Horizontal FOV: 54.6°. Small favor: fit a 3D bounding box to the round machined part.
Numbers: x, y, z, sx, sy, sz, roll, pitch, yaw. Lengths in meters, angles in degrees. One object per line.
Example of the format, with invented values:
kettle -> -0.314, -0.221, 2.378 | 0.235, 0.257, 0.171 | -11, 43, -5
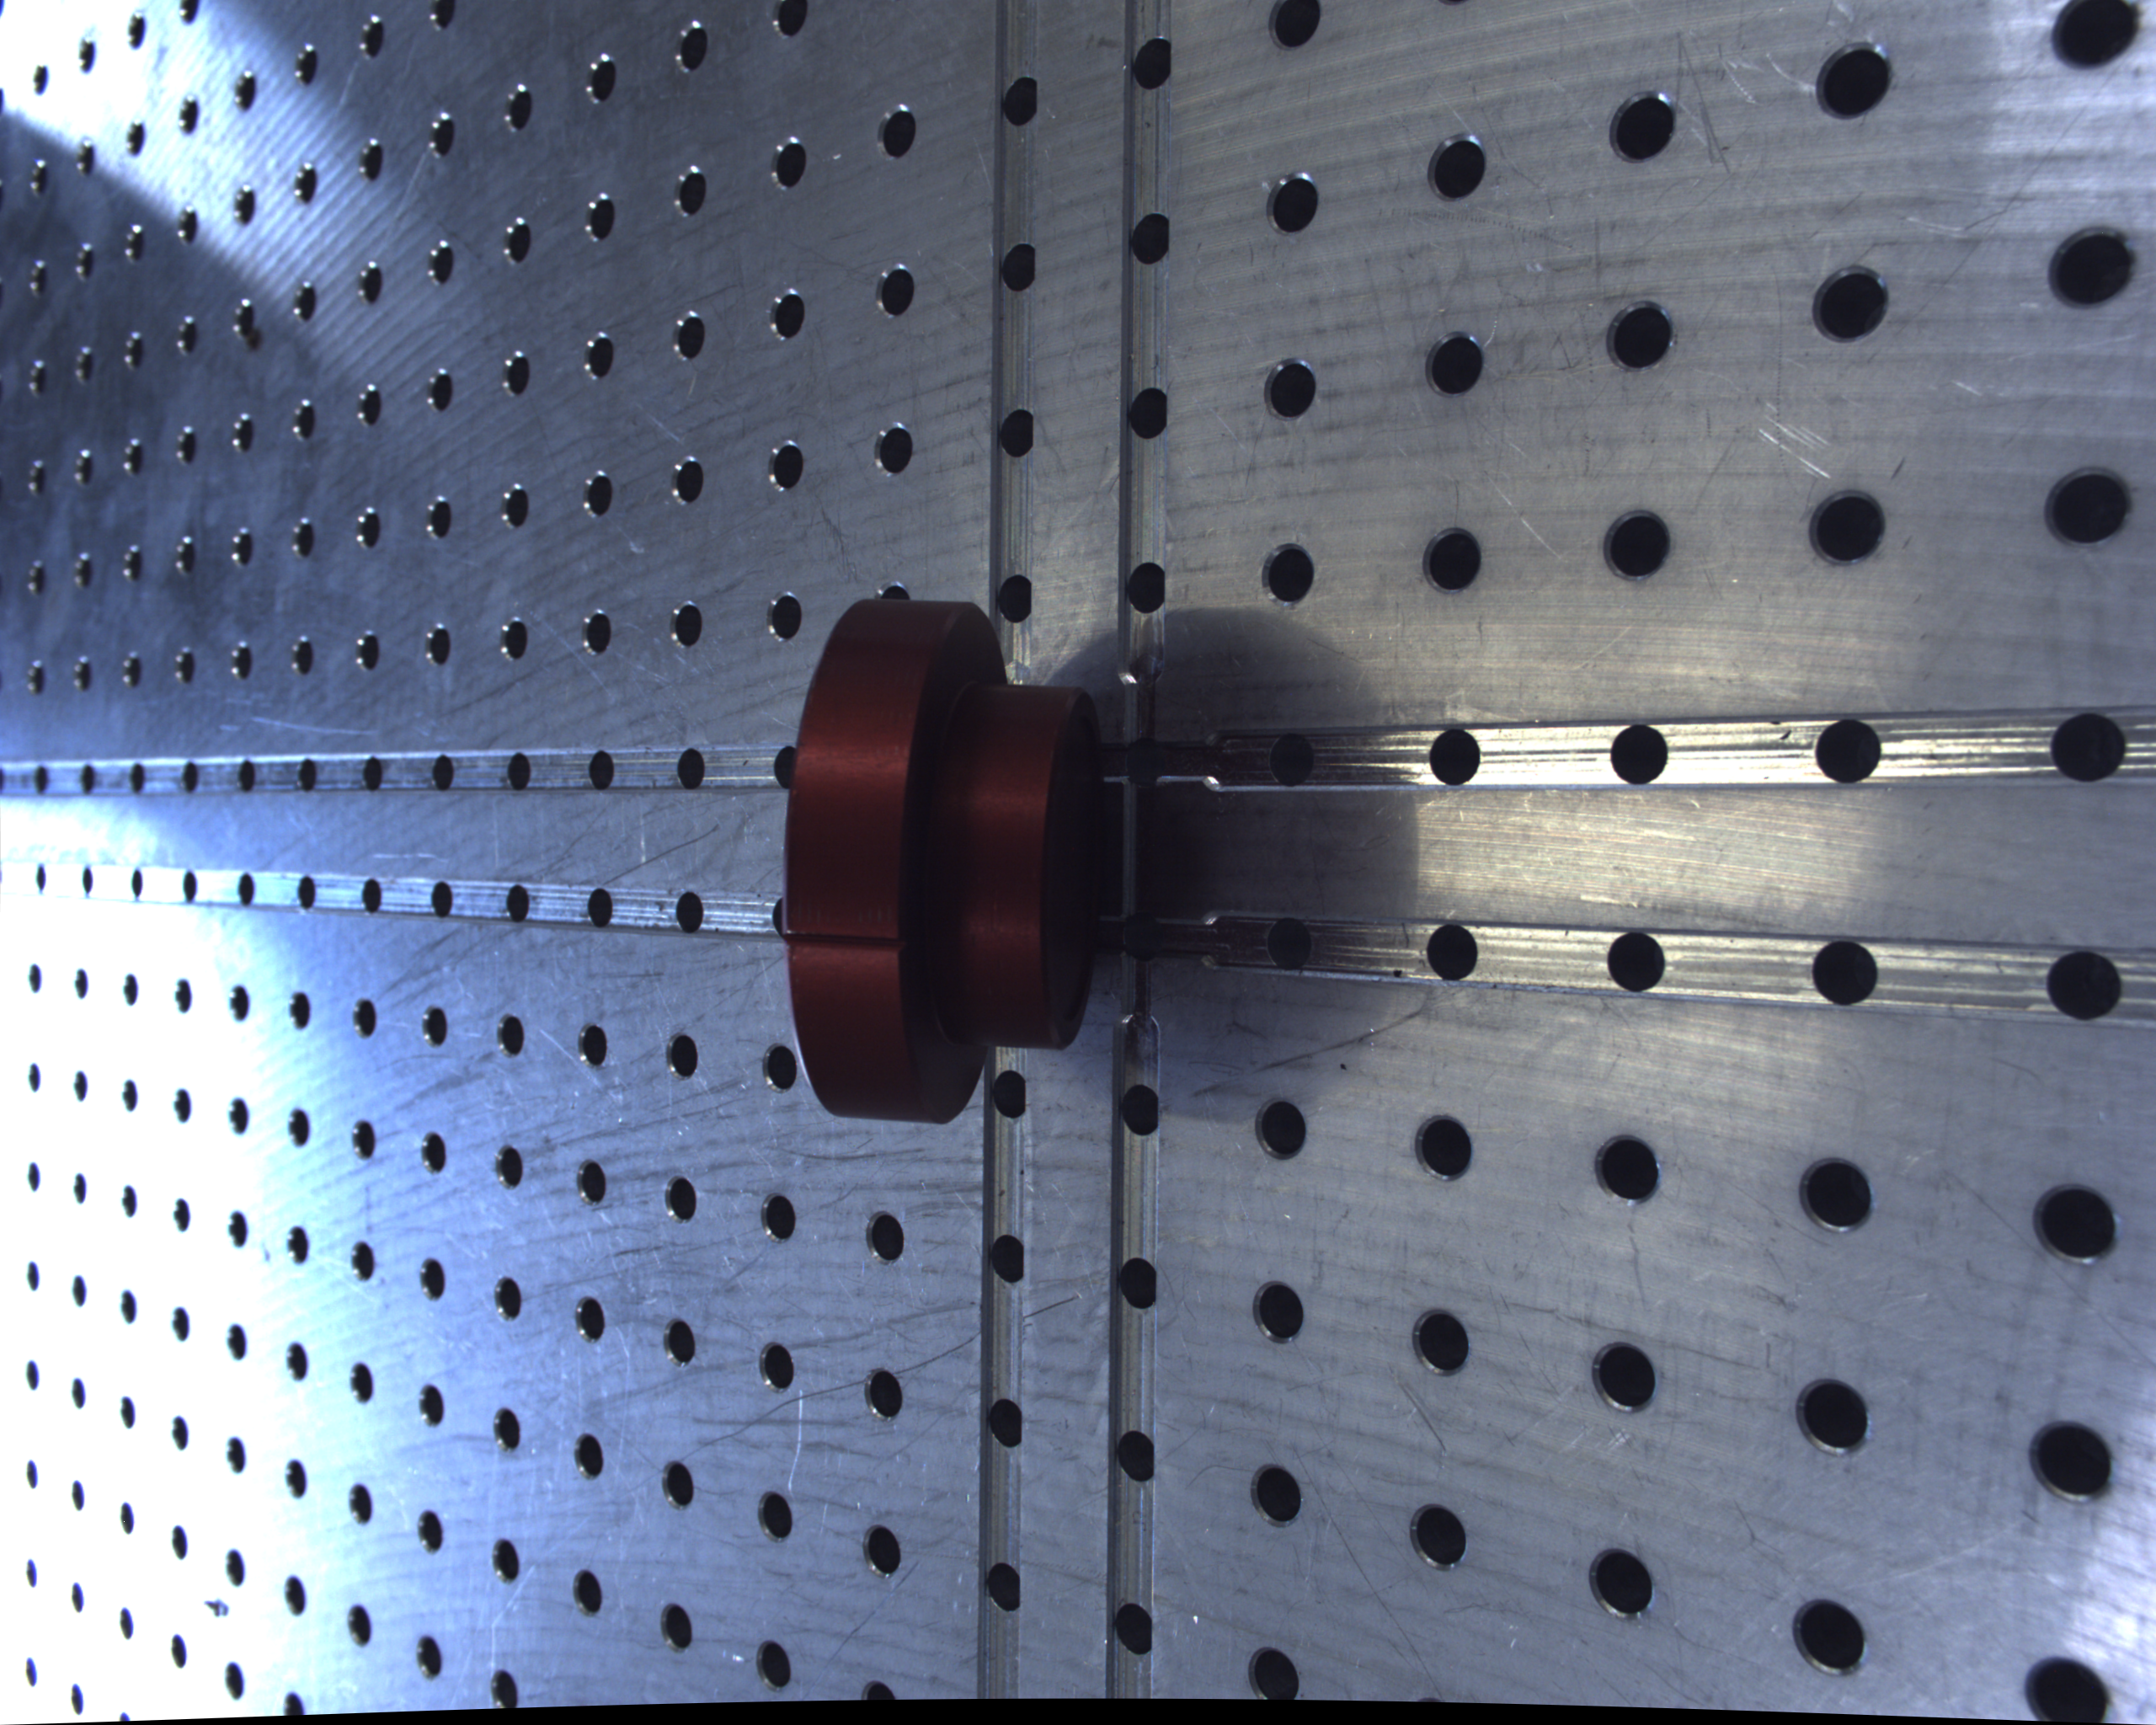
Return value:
round machined part -> -0.020, 0.000, 0.392 | 0.042, 0.098, 0.097 | 3, 92, 9
